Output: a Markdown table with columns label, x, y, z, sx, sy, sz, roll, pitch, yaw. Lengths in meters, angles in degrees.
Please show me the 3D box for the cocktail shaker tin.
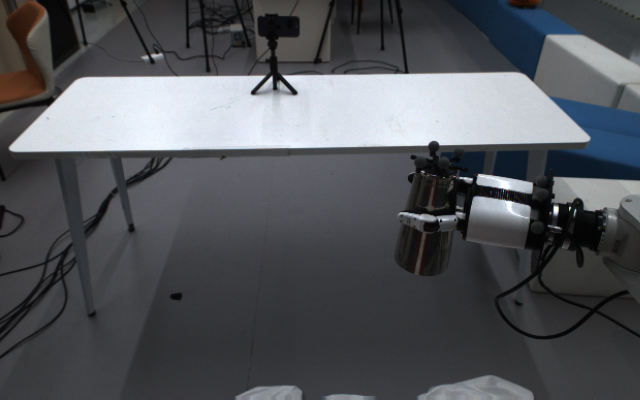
| label | x | y | z | sx | sy | sz | roll | pitch | yaw |
| --- | --- | --- | --- | --- | --- | --- | --- | --- | --- |
| cocktail shaker tin | 0.177 | 0.024 | 0.775 | 0.093 | 0.170 | 0.093 | 2 | 30 | -1 |
